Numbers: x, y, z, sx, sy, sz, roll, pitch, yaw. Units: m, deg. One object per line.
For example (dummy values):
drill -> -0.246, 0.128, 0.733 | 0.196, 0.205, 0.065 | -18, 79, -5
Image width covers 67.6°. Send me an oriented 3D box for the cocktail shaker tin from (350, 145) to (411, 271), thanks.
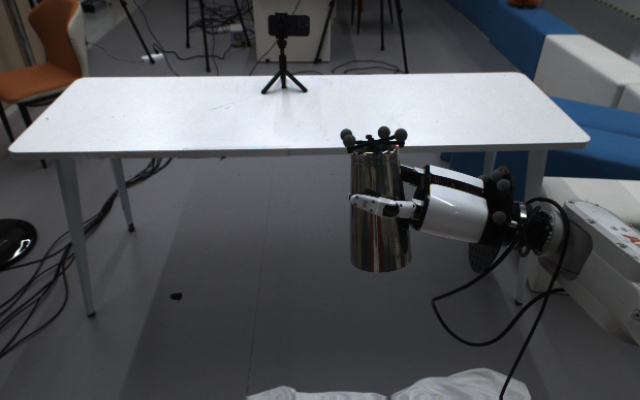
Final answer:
cocktail shaker tin -> 0.084, 0.007, 0.700 | 0.093, 0.170, 0.093 | -6, 19, 2
